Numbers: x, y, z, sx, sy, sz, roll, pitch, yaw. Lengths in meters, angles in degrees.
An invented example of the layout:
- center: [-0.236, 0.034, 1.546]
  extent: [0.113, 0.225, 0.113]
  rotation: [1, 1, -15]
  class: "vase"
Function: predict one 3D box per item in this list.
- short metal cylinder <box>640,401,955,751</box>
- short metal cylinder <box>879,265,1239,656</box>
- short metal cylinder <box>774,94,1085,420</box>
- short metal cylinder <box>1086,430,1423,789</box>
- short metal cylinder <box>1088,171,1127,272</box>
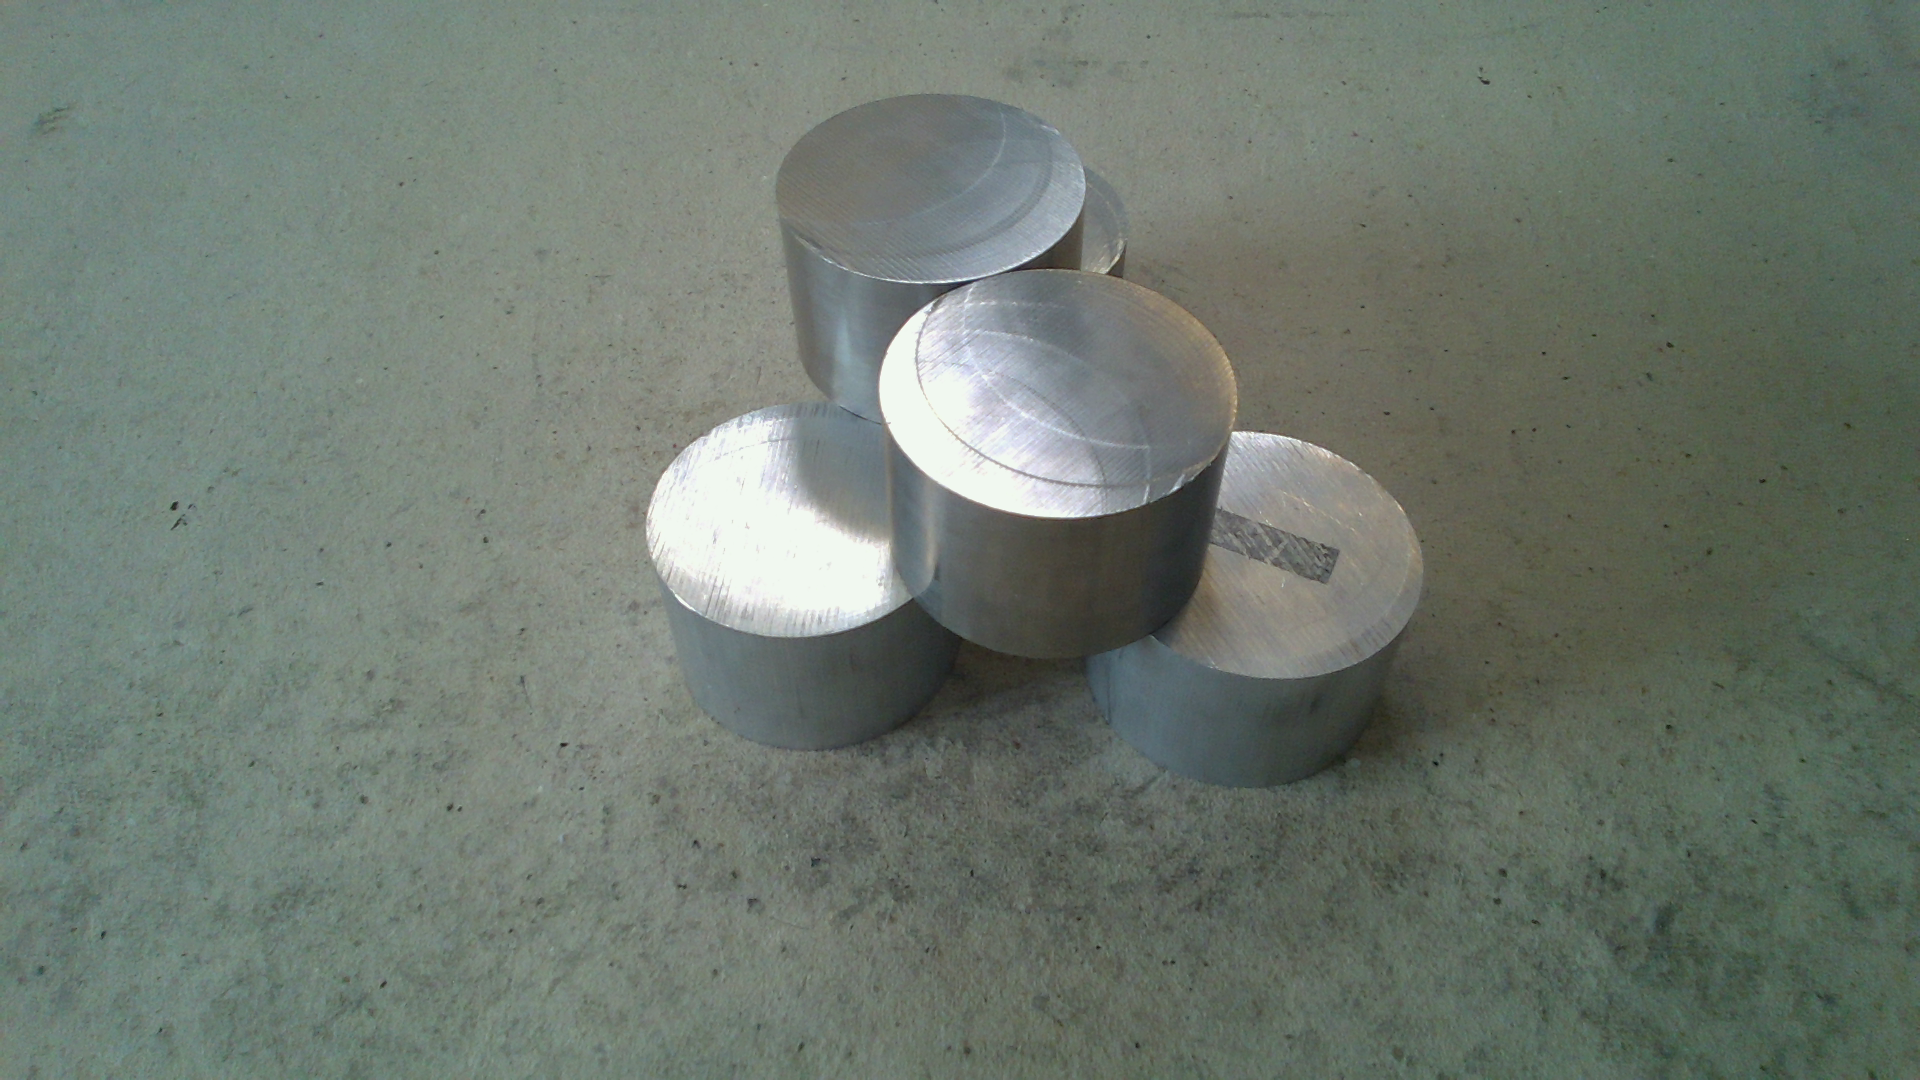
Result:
- center: [-0.040, 0.009, 0.368]
  extent: [0.080, 0.050, 0.080]
  rotation: [0, 50, 0]
  class: "short metal cylinder"
- center: [0.022, -0.020, 0.325]
  extent: [0.080, 0.050, 0.080]
  rotation: [0, 50, 0]
  class: "short metal cylinder"
- center: [-0.008, -0.077, 0.374]
  extent: [0.080, 0.050, 0.080]
  rotation: [0, 50, 0]
  class: "short metal cylinder"
- center: [0.074, 0.017, 0.360]
  extent: [0.080, 0.050, 0.080]
  rotation: [0, 50, 0]
  class: "short metal cylinder"
- center: [0.012, -0.082, 0.445]
  extent: [0.080, 0.050, 0.080]
  rotation: [0, 50, 0]
  class: "short metal cylinder"
